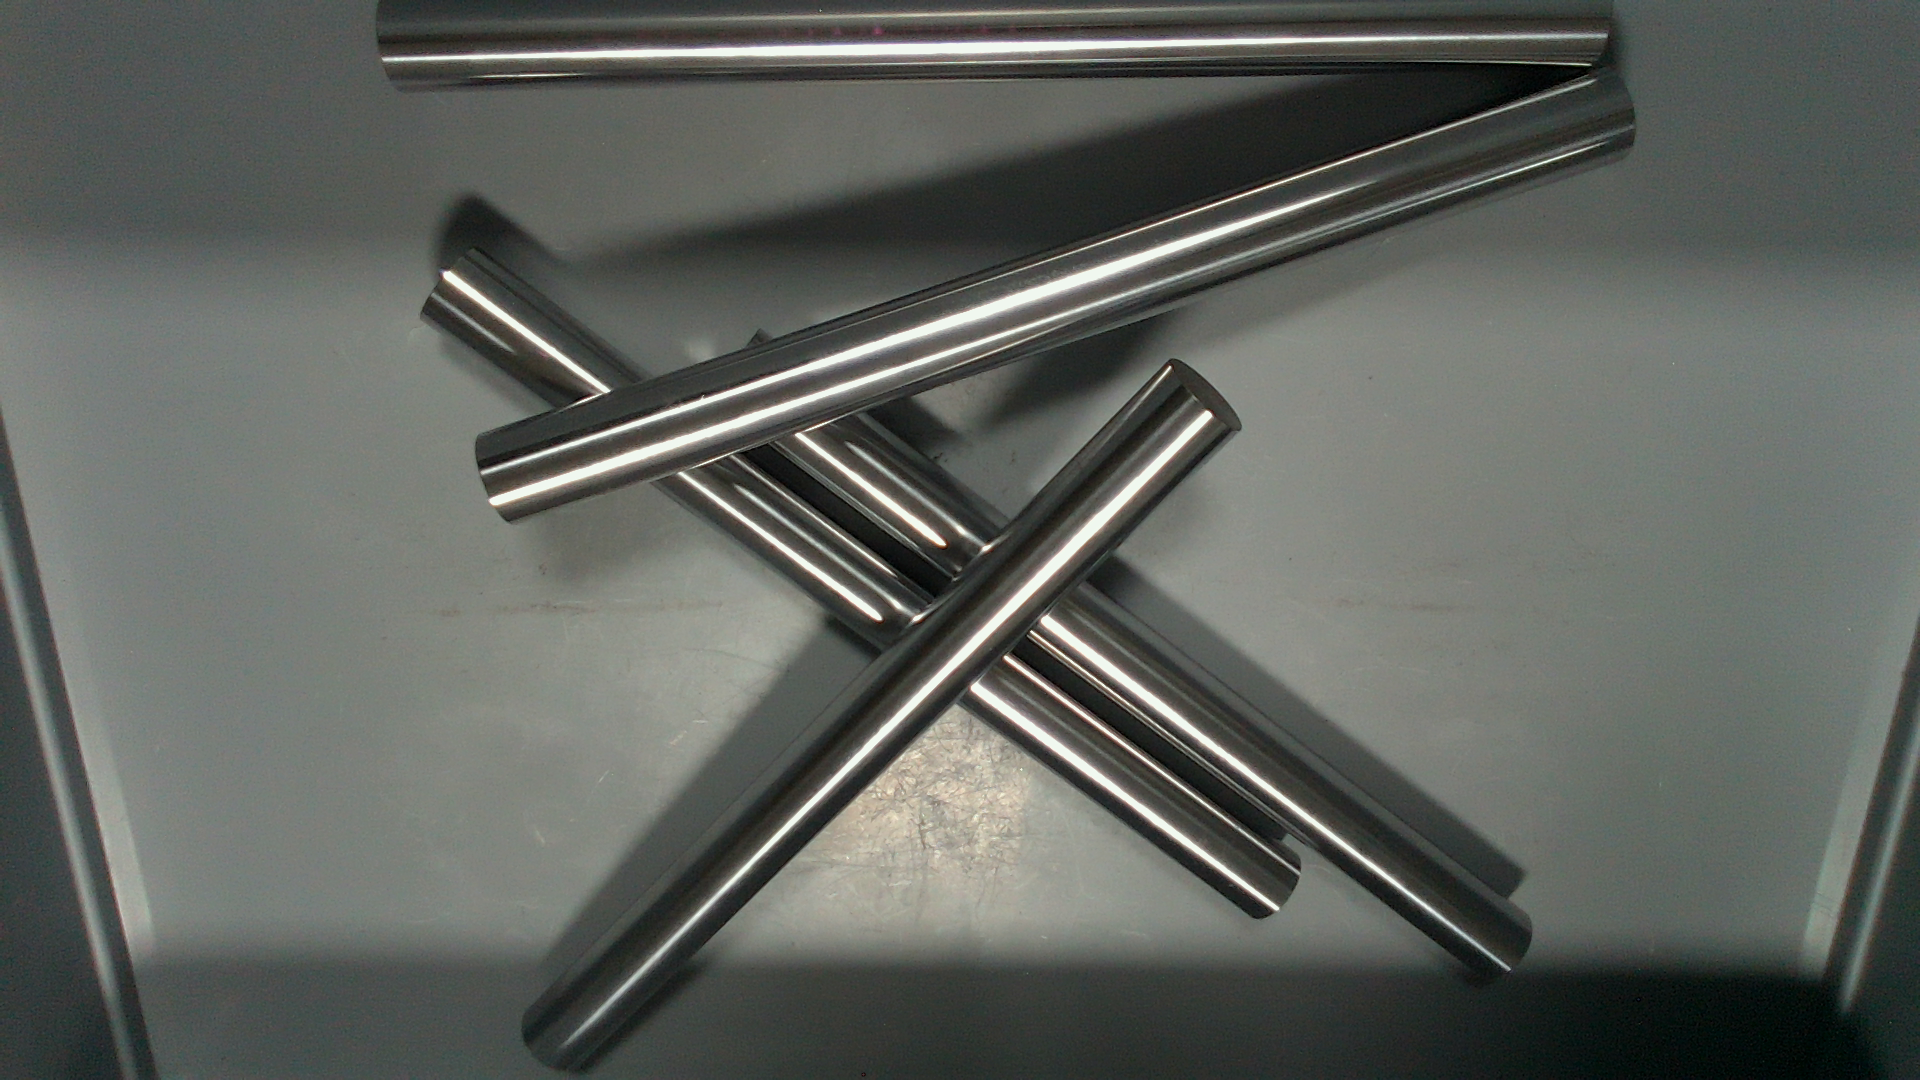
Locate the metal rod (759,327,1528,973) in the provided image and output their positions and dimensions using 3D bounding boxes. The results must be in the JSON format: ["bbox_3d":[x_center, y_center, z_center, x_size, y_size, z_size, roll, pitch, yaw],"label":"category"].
[{"bbox_3d":[0.055,0.040,0.409,0.300,0.025,0.025,37,106,-13],"label":"metal rod"}]

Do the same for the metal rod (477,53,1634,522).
[{"bbox_3d":[0.024,-0.065,0.353,0.300,0.025,0.025,-19,109,0],"label":"metal rod"}]

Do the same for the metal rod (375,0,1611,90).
[{"bbox_3d":[0.008,-0.129,0.346,0.300,0.025,0.025,-1,110,0],"label":"metal rod"}]

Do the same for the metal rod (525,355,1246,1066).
[{"bbox_3d":[-0.035,0.062,0.395,0.025,0.025,0.299,39,113,-13],"label":"metal rod"}]

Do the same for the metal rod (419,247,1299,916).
[{"bbox_3d":[-0.019,0.019,0.401,0.300,0.025,0.025,37,106,-13],"label":"metal rod"}]
